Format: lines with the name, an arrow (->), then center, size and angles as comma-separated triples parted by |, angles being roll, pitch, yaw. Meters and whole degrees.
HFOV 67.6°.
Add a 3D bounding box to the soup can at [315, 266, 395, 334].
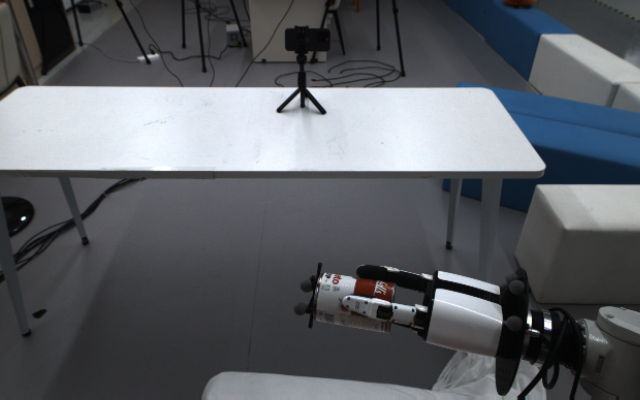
soup can -> 0.050, 0.137, 0.652 | 0.101, 0.067, 0.067 | 6, 35, 11
